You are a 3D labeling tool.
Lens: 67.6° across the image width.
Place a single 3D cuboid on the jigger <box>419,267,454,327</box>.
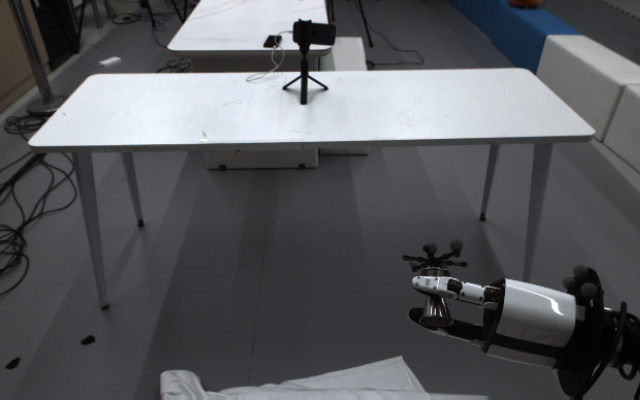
[{"bbox_3d":[0.152,0.126,0.645,0.043,0.043,0.071,5,60,4],"label":"jigger"}]
